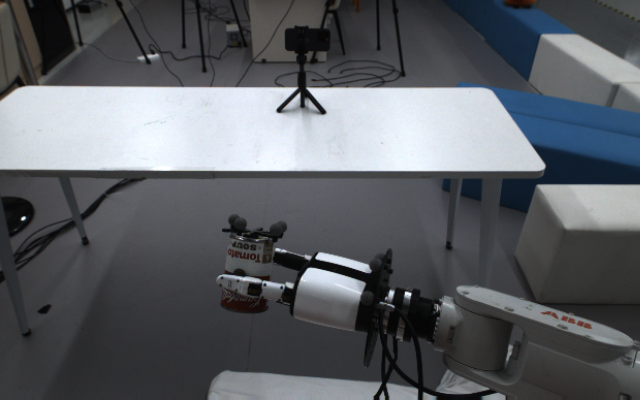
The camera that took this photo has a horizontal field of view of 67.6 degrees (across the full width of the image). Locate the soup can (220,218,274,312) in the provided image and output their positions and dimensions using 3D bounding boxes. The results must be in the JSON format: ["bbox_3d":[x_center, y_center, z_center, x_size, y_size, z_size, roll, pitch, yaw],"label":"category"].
[{"bbox_3d":[-0.098,0.100,0.678,0.067,0.101,0.067,7,4,0],"label":"soup can"}]
